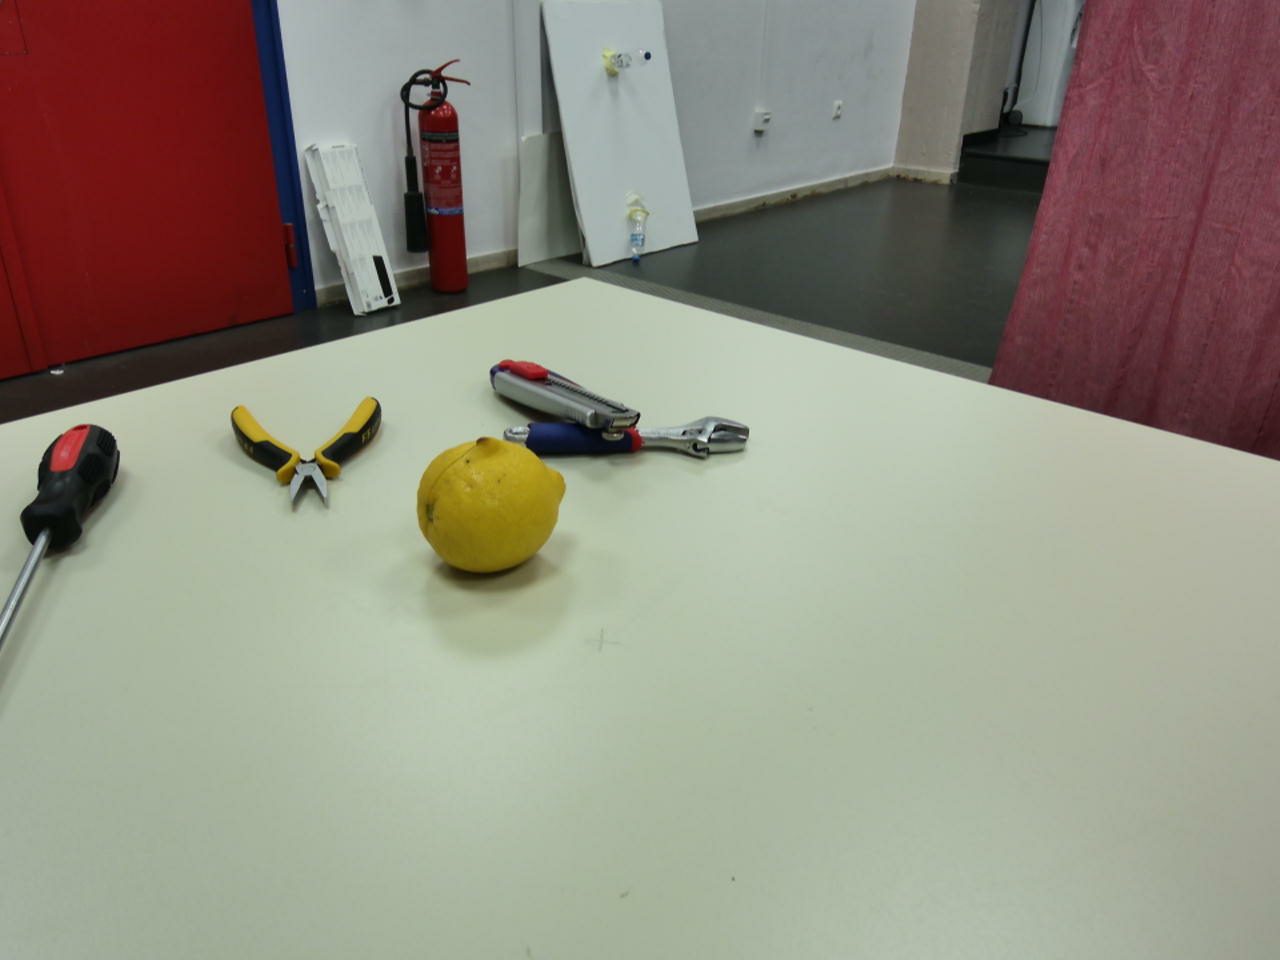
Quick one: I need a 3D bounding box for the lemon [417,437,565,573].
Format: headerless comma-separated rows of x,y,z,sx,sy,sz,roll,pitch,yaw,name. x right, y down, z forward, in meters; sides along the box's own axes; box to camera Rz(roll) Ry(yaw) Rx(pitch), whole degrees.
-0.077,0.010,0.507,0.071,0.071,0.070,3,25,6,lemon
